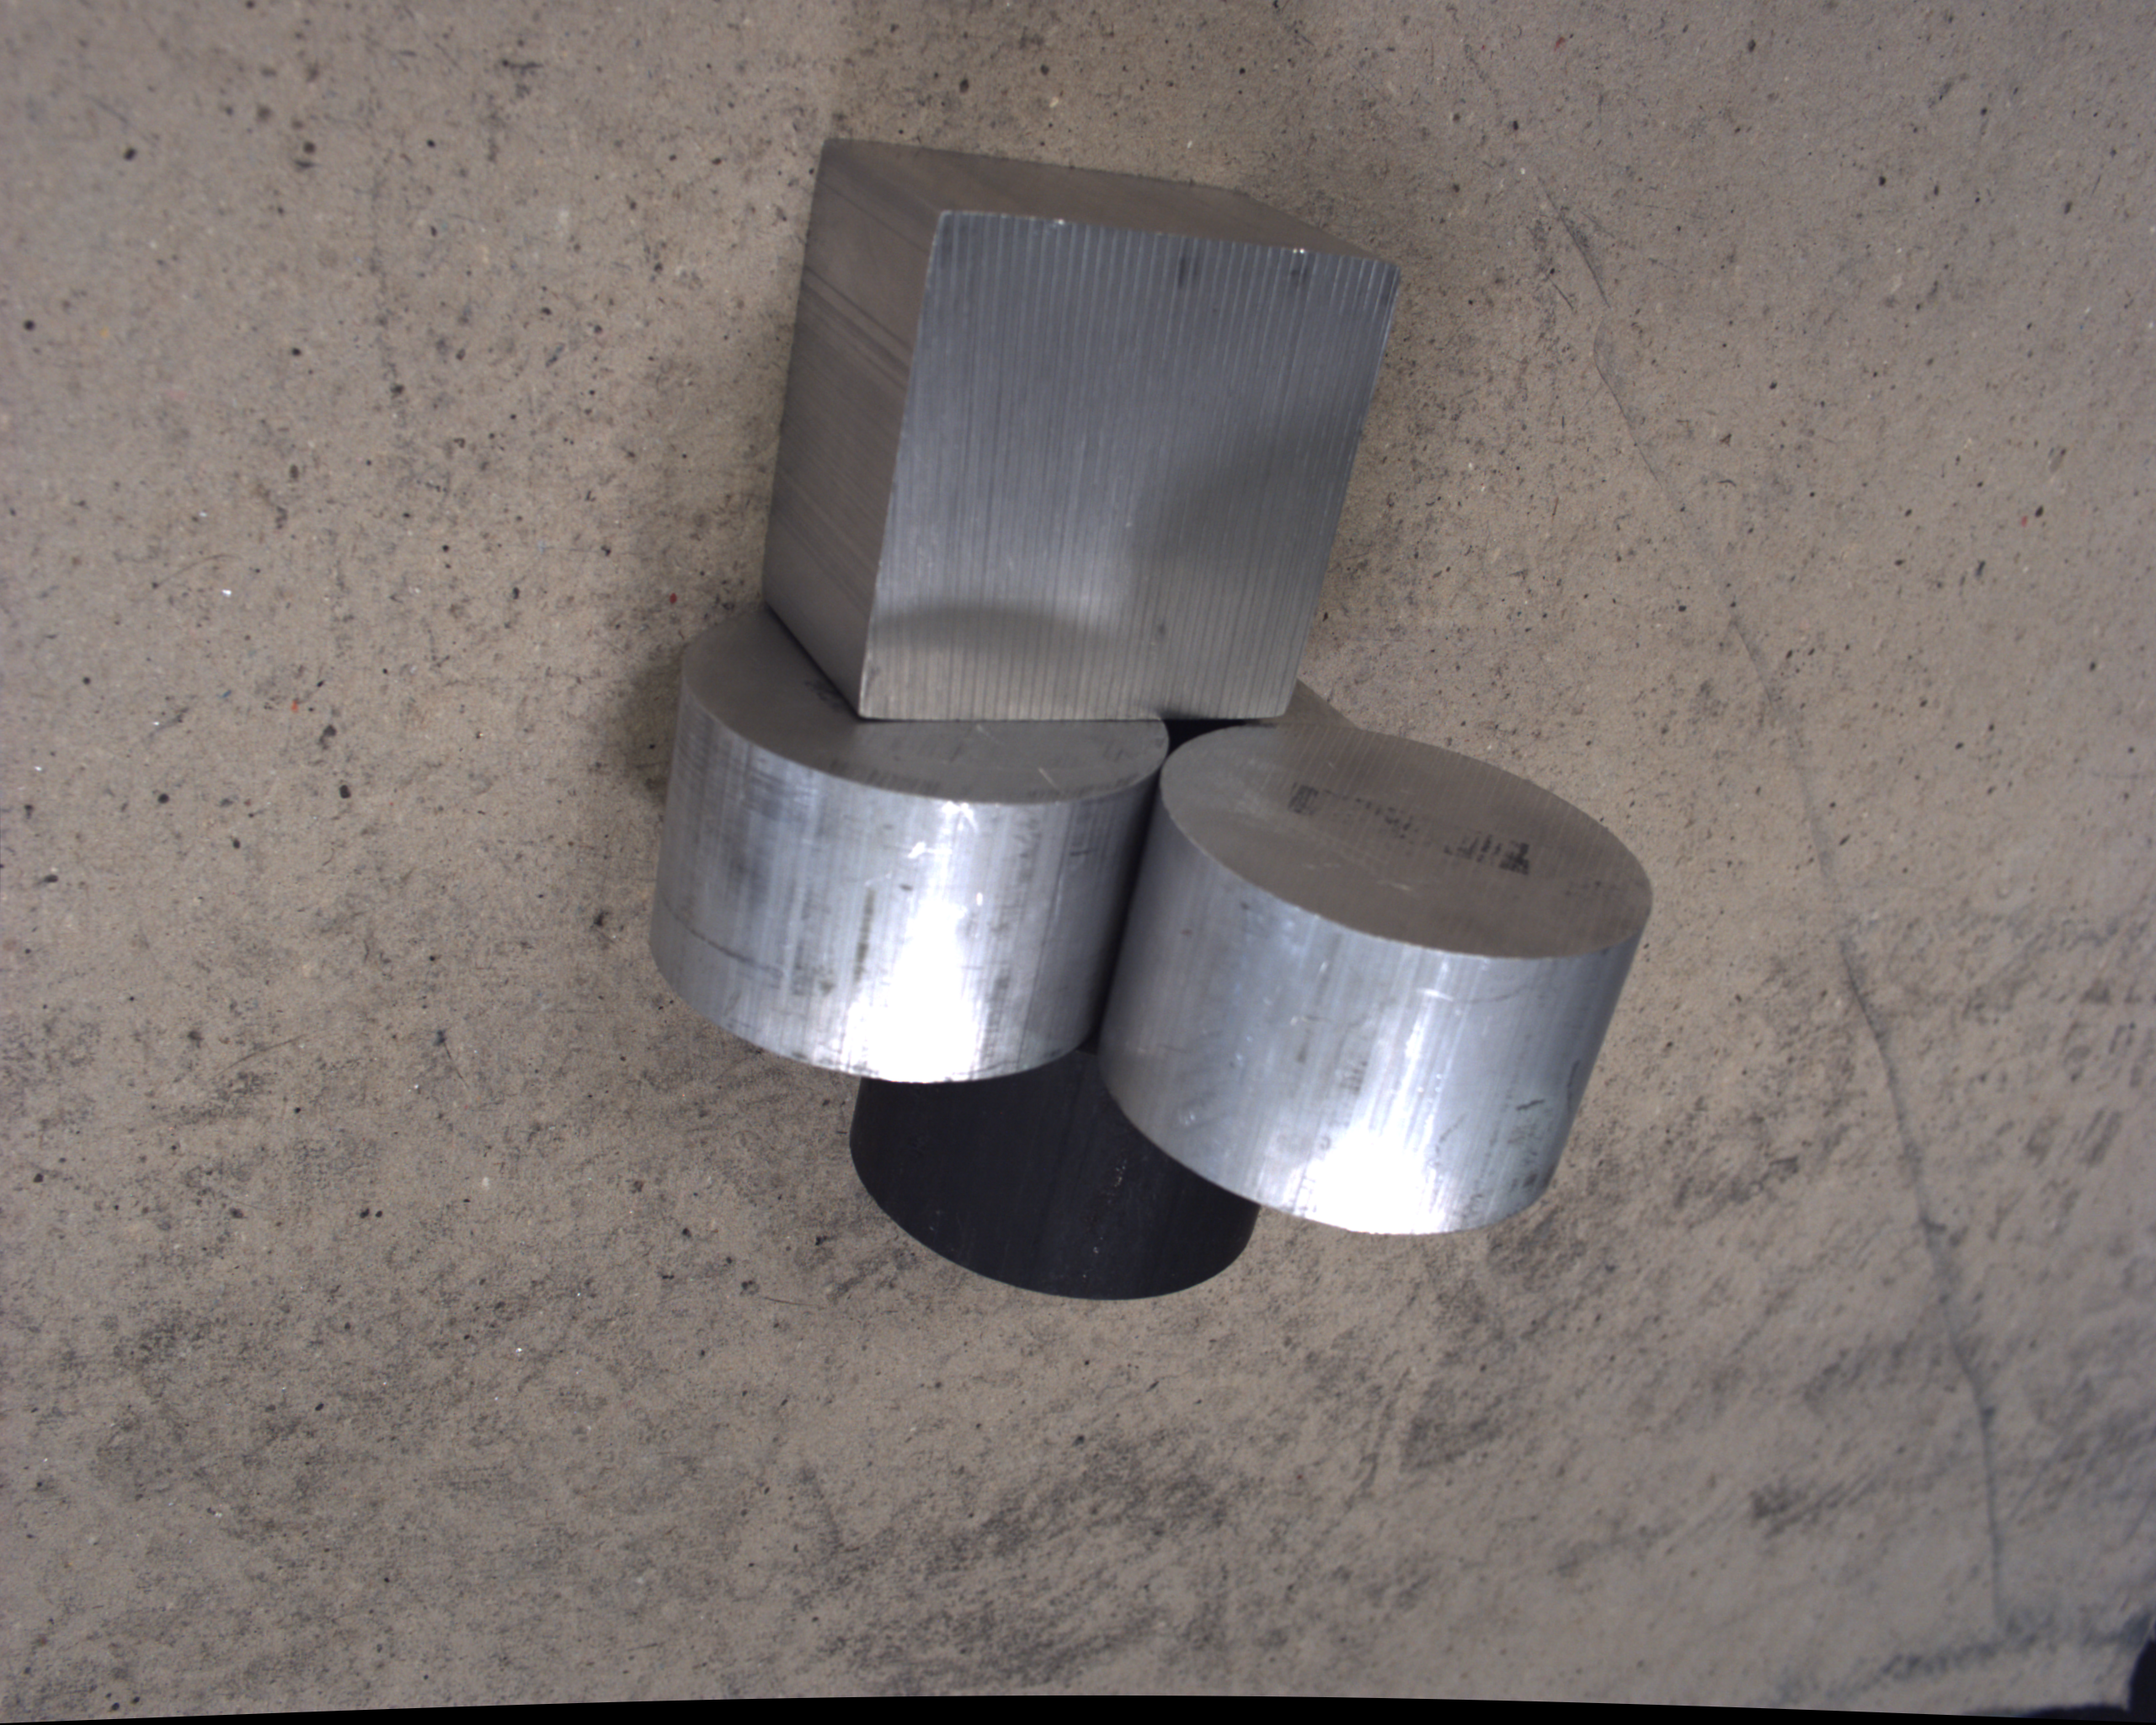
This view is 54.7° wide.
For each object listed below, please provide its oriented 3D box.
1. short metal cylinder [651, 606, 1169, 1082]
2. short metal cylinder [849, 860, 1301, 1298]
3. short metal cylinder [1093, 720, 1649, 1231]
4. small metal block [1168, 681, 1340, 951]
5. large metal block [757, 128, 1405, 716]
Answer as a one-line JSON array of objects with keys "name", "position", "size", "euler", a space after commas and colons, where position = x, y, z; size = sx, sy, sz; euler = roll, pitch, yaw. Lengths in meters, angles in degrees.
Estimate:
[{"name": "short metal cylinder", "position": [-0.029, -0.006, 0.354], "size": [0.081, 0.080, 0.050], "euler": [-2, 120, -28]}, {"name": "short metal cylinder", "position": [0.001, 0.037, 0.397], "size": [0.081, 0.080, 0.050], "euler": [-1, 119, -28]}, {"name": "short metal cylinder", "position": [0.047, 0.016, 0.344], "size": [0.081, 0.080, 0.050], "euler": [-2, 120, -28]}, {"name": "small metal block", "position": [0.022, -0.015, 0.398], "size": [0.025, 0.050, 0.050], "euler": [1, 118, -29]}, {"name": "large metal block", "position": [-0.002, -0.071, 0.348], "size": [0.081, 0.050, 0.079], "euler": [-2, 119, -28]}]
